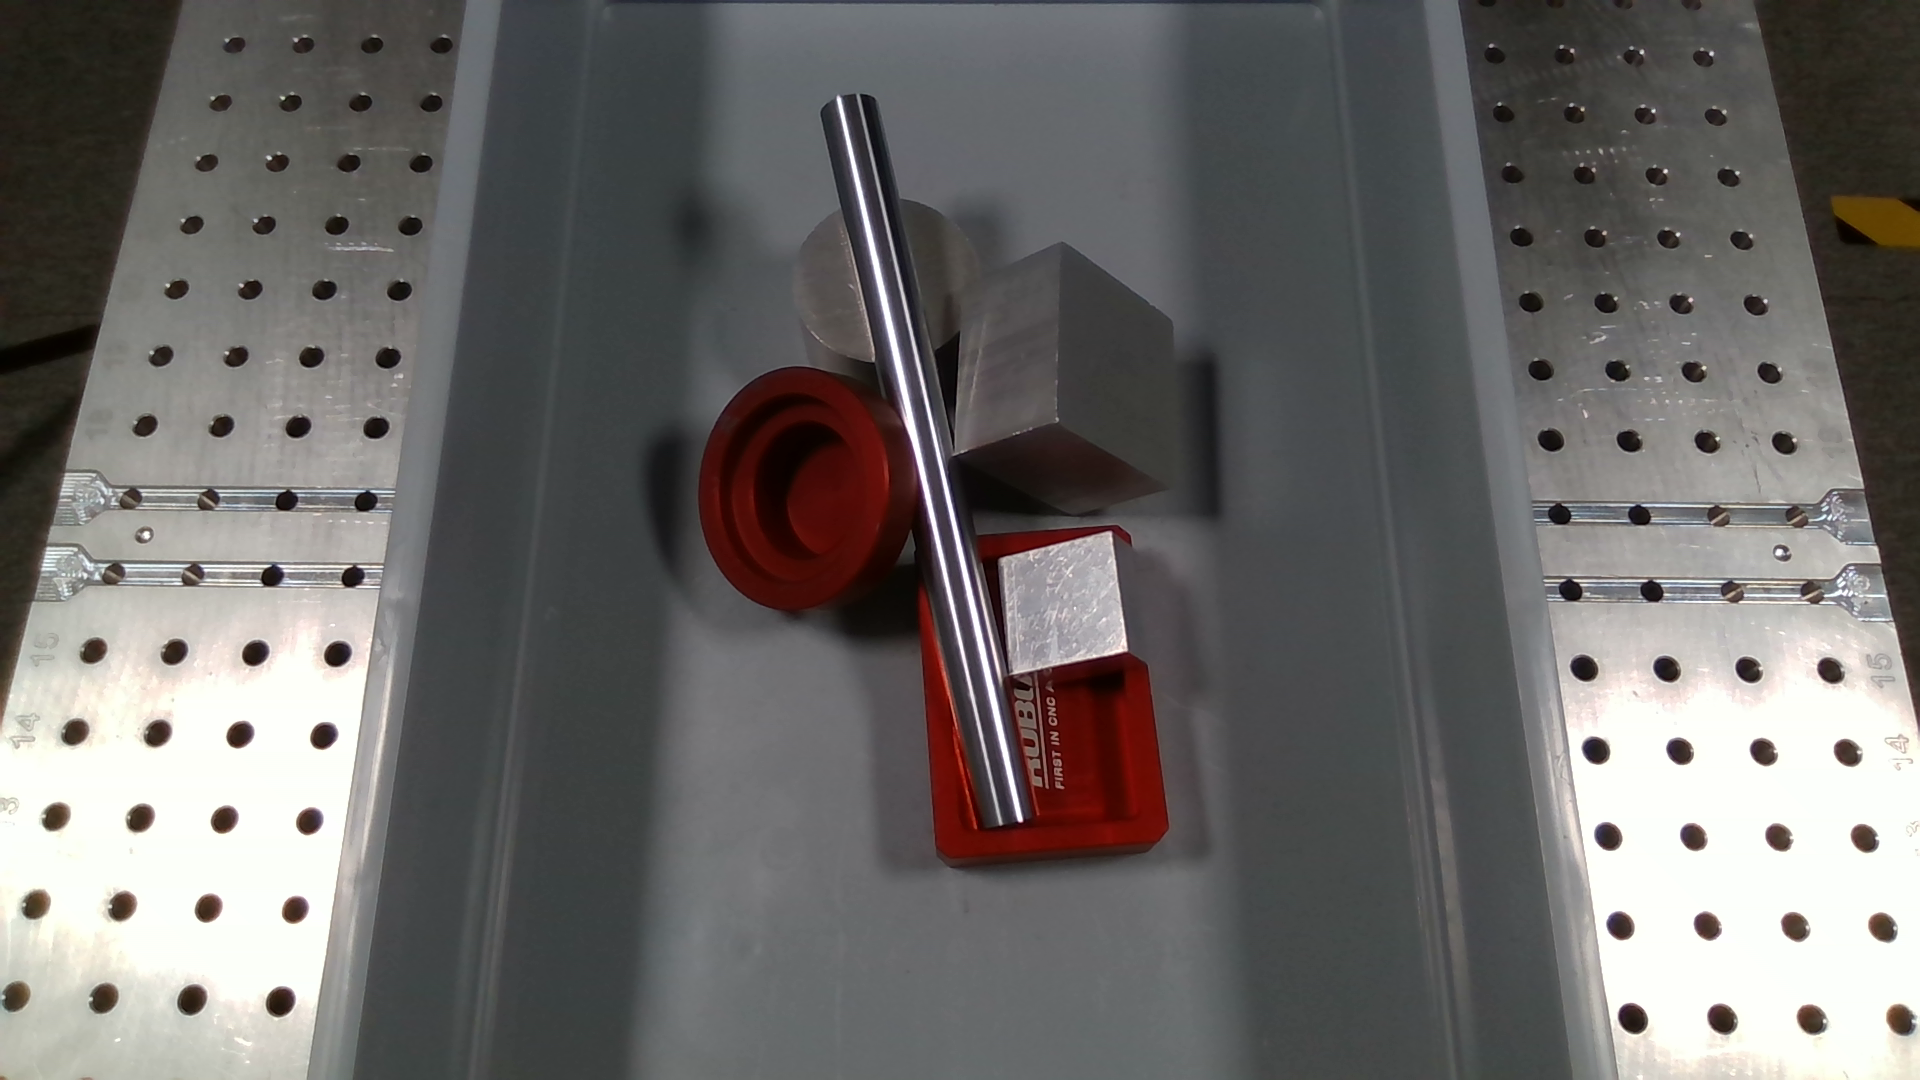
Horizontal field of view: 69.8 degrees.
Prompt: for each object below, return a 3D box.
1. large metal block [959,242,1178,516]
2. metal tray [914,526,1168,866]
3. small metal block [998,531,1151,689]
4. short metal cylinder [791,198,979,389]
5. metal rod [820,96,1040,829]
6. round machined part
[{"bbox_3d":[0.047,-0.063,0.572,0.050,0.080,0.080,-16,62,40],"label":"large metal block"},{"bbox_3d":[0.030,0.063,0.561,0.090,0.030,0.130,-4,70,-2],"label":"metal tray"},{"bbox_3d":[0.046,0.029,0.554,0.050,0.025,0.050,-14,68,23],"label":"small metal block"},{"bbox_3d":[-0.032,-0.104,0.610,0.080,0.050,0.080,0,70,0],"label":"short metal cylinder"},{"bbox_3d":[-0.014,-0.035,0.556,0.025,0.025,0.300,-12,82,-4],"label":"metal rod"},{"bbox_3d":[-0.058,-0.020,0.568,0.098,0.042,0.098,-2,87,32],"label":"round machined part"}]
